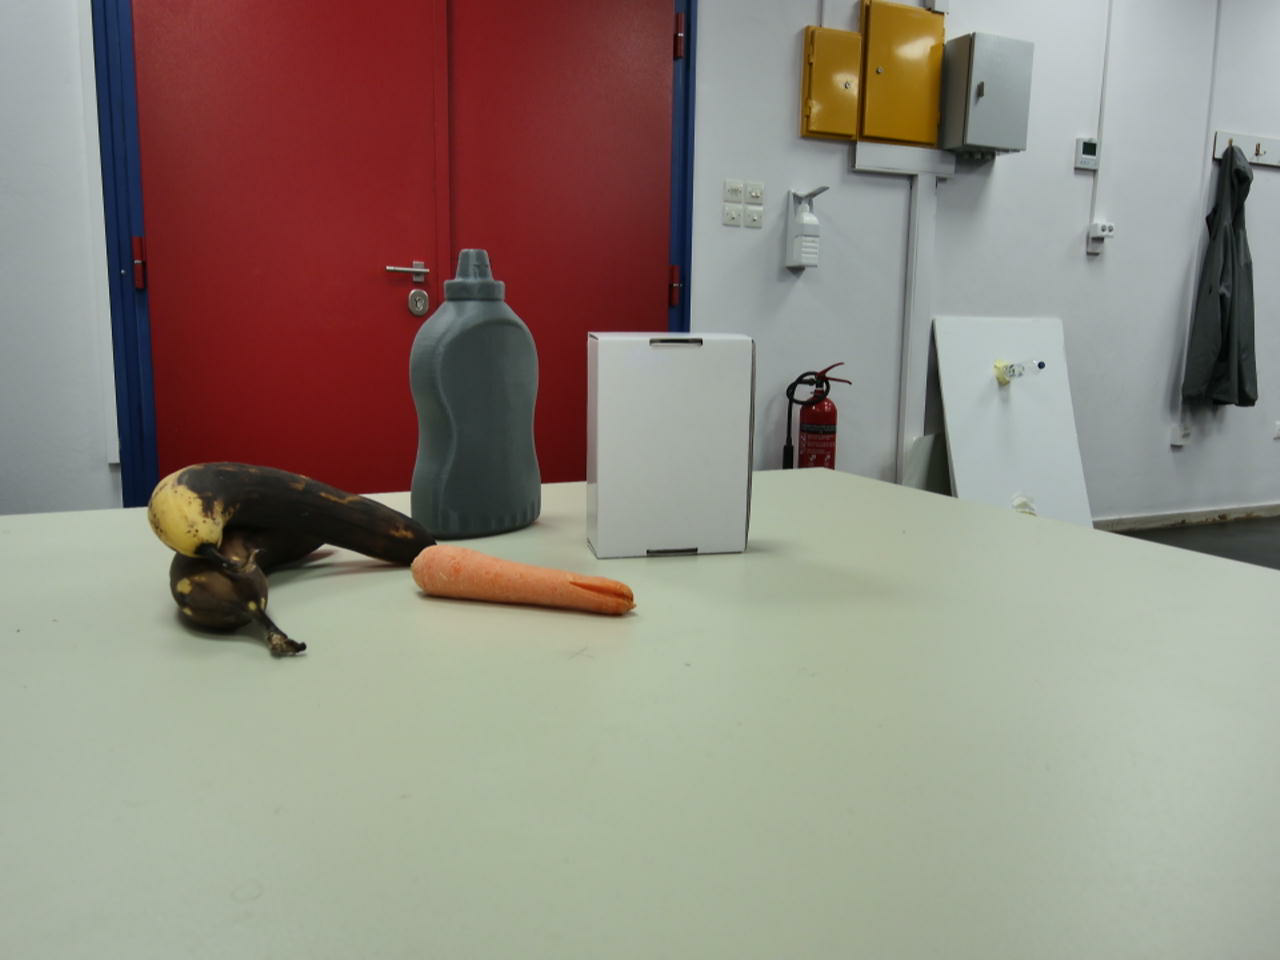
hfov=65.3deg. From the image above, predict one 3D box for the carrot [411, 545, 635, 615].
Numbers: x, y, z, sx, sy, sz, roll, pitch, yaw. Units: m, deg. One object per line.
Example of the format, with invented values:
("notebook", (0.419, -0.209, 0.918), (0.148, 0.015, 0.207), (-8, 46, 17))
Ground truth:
("carrot", (-0.068, 0.055, 0.557), (0.136, 0.032, 0.030), (3, 7, 20))
